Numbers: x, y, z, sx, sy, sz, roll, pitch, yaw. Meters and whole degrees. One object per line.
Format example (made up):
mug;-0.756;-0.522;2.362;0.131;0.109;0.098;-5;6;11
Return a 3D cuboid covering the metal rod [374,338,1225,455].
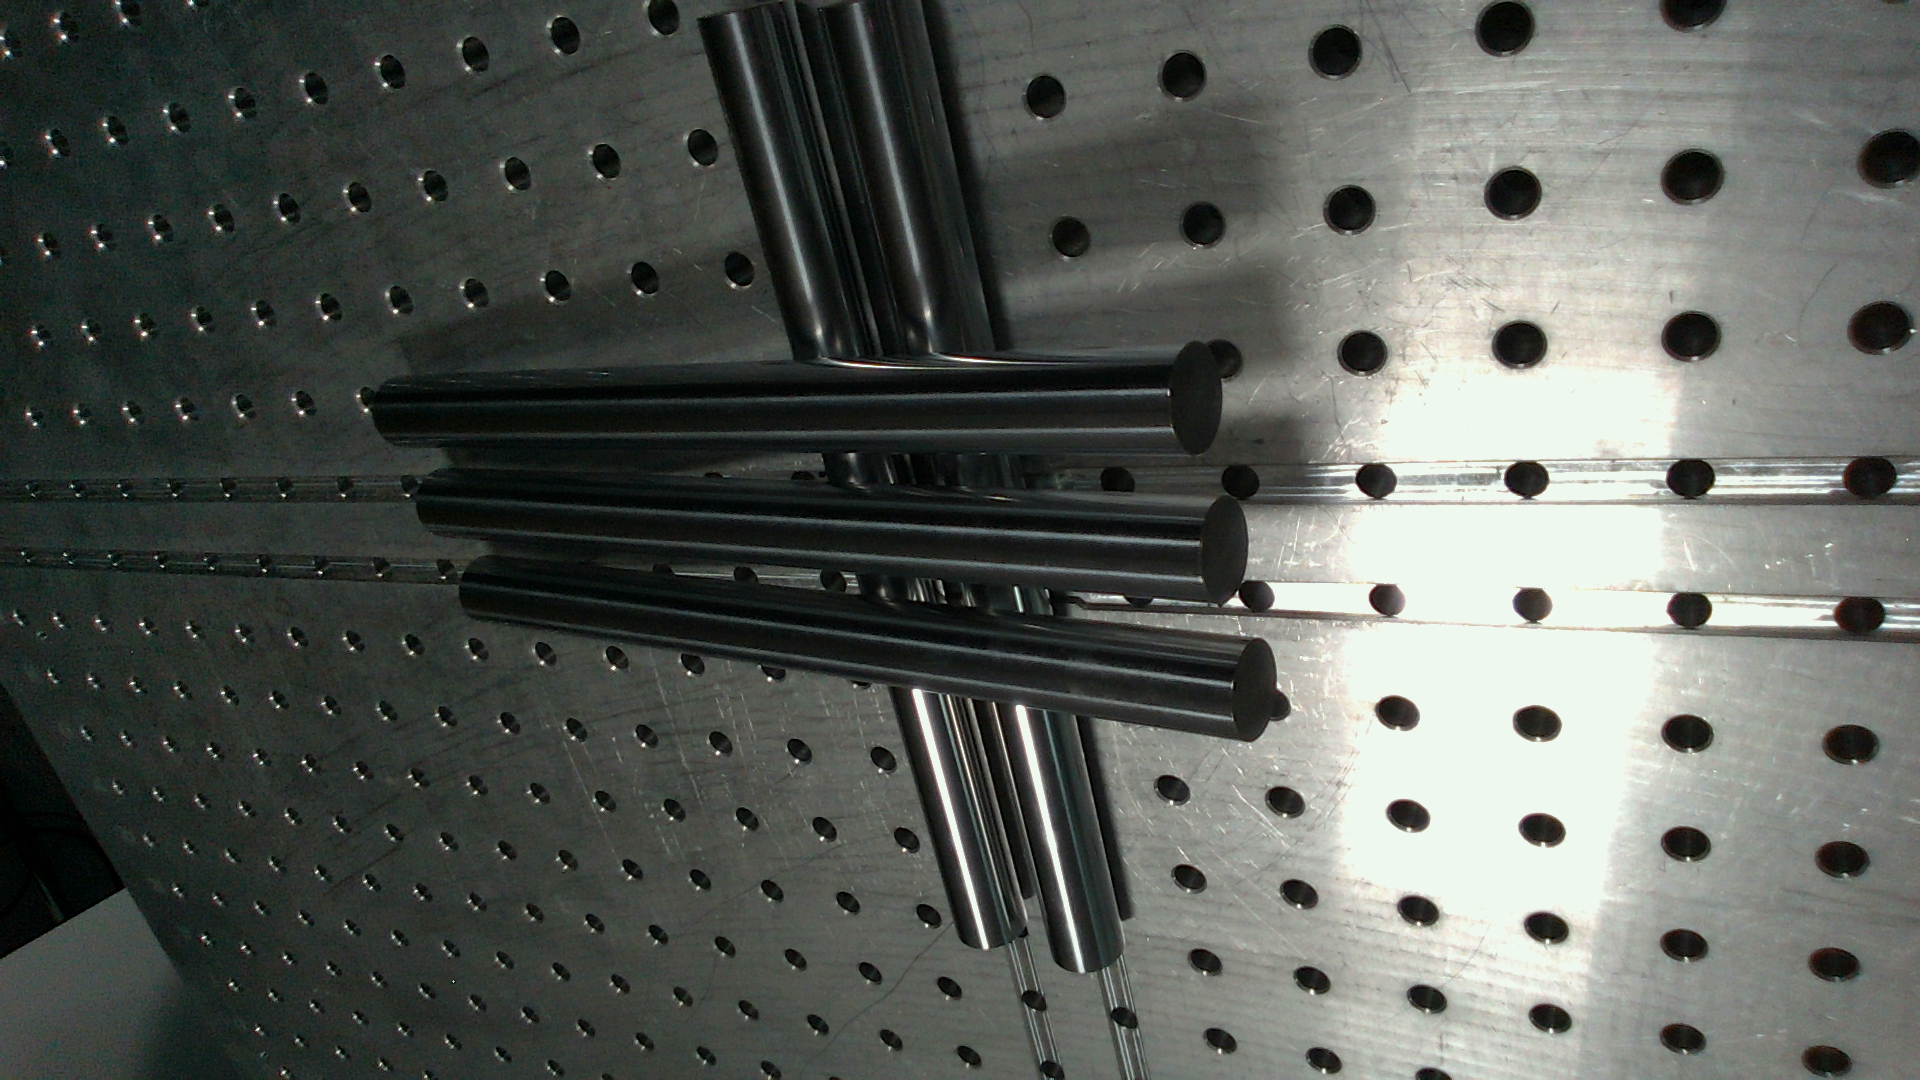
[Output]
metal rod;-0.069;-0.037;0.383;0.299;0.025;0.025;3;120;36

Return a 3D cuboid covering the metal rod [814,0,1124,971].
metal rod;0.010;0.002;0.392;0.025;0.025;0.300;1;119;28

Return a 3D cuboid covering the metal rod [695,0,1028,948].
metal rod;-0.021;-0.001;0.407;0.025;0.025;0.300;1;119;28

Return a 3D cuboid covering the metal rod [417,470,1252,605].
metal rod;-0.060;-0.005;0.398;0.299;0.025;0.025;3;120;36

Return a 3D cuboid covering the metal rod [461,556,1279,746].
metal rod;-0.050;0.027;0.412;0.299;0.025;0.025;4;121;36
